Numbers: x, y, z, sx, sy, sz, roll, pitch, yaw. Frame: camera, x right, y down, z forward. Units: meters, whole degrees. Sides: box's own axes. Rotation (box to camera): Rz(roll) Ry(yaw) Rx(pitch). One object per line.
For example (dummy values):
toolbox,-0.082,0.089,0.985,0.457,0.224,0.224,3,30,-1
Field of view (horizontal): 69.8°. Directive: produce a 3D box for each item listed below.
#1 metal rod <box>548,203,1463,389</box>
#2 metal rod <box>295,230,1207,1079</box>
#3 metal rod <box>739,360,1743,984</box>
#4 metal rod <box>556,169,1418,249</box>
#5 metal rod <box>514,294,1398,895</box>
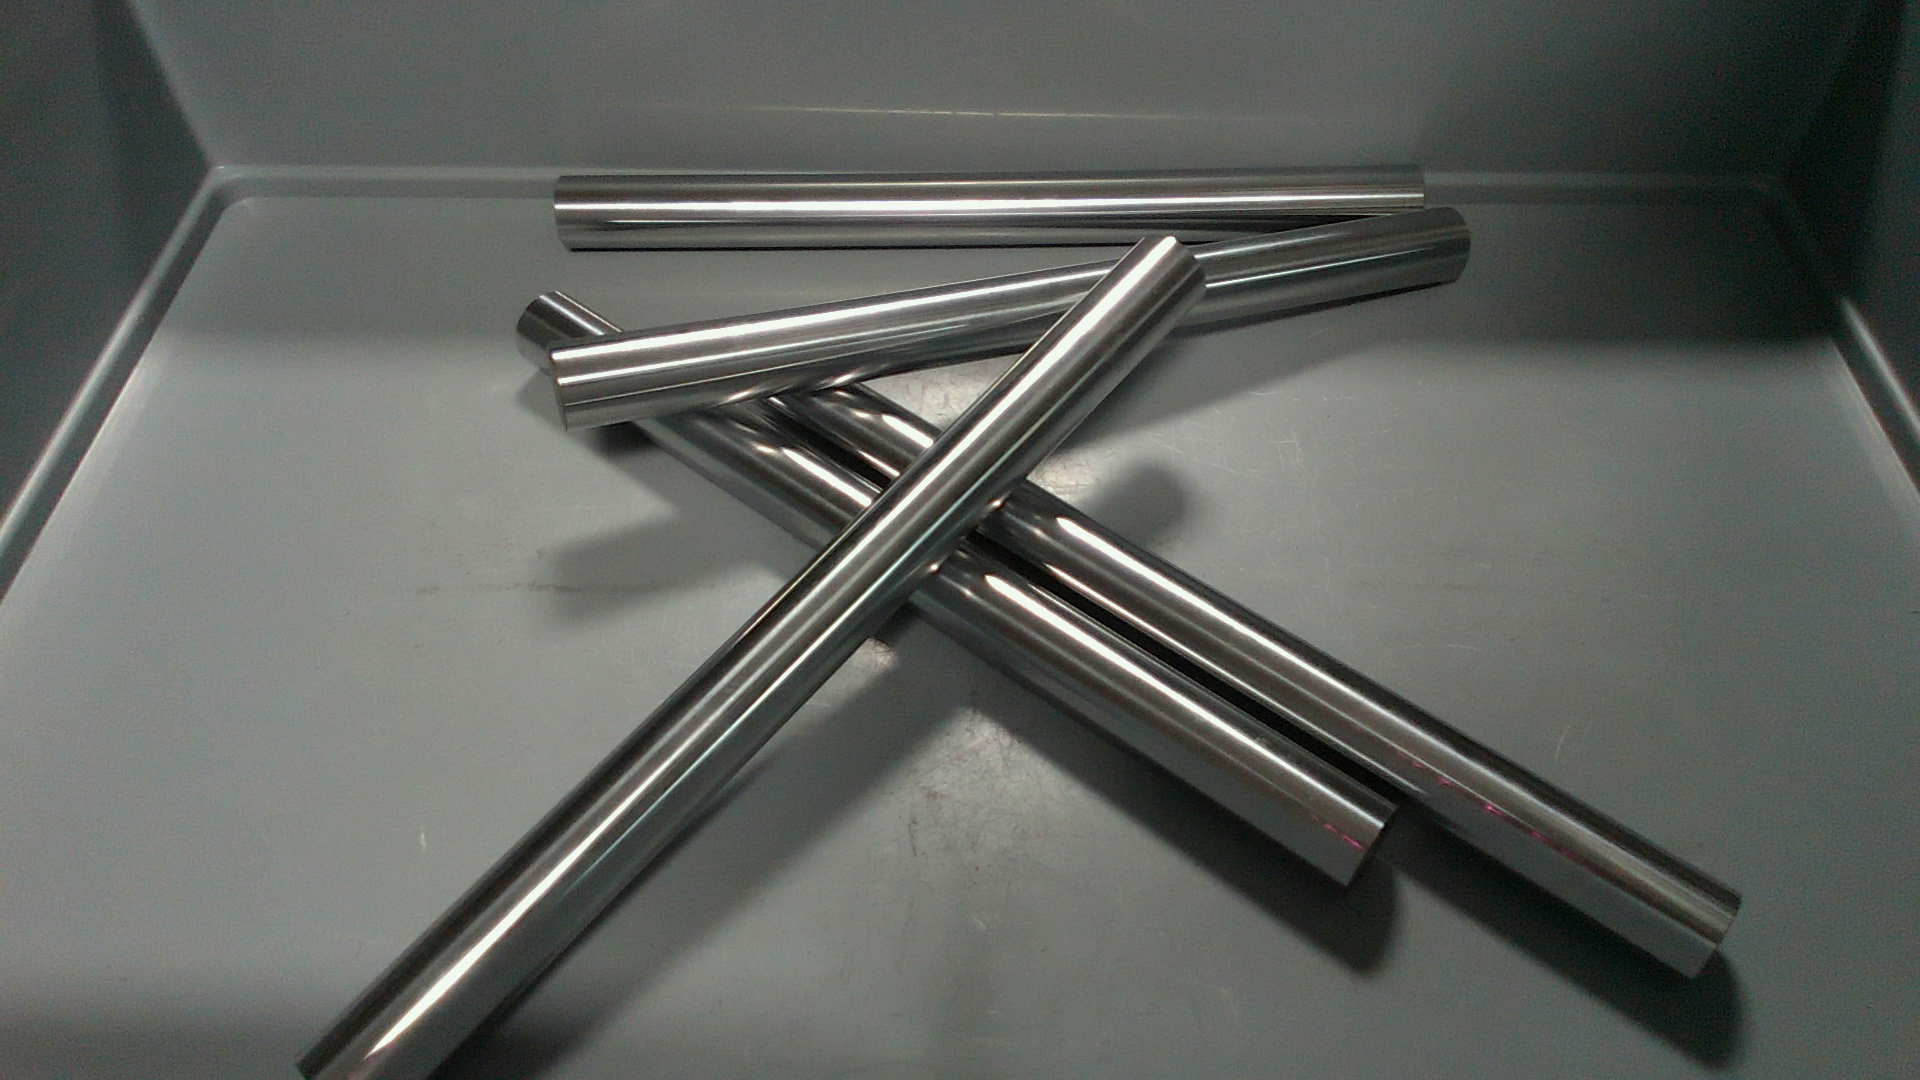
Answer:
metal rod,0.025,-0.080,0.439,0.301,0.025,0.025,-10,50,-16
metal rod,-0.035,0.019,0.349,0.025,0.025,0.301,33,65,25
metal rod,0.056,0.019,0.375,0.299,0.025,0.025,32,57,24
metal rod,0.010,-0.118,0.491,0.300,0.025,0.025,-1,50,-1
metal rod,-0.019,0.003,0.389,0.299,0.025,0.025,32,57,24
